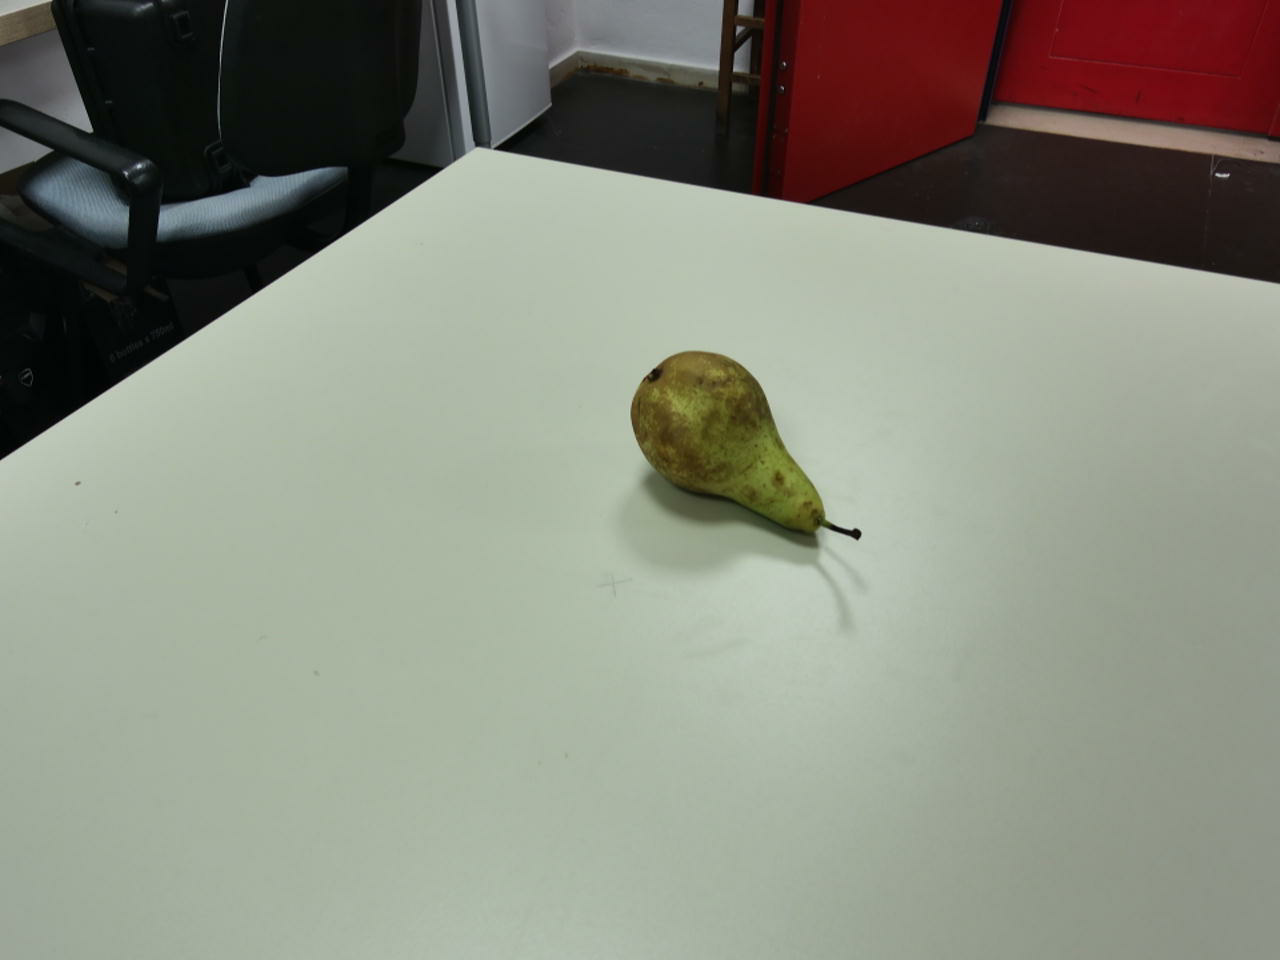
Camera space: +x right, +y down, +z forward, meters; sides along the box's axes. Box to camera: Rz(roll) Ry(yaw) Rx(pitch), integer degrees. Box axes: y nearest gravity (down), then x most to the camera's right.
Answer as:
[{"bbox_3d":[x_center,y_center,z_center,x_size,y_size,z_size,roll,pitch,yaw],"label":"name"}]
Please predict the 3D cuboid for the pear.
[{"bbox_3d":[0.062,-0.020,0.518,0.144,0.075,0.071,21,43,25],"label":"pear"}]
